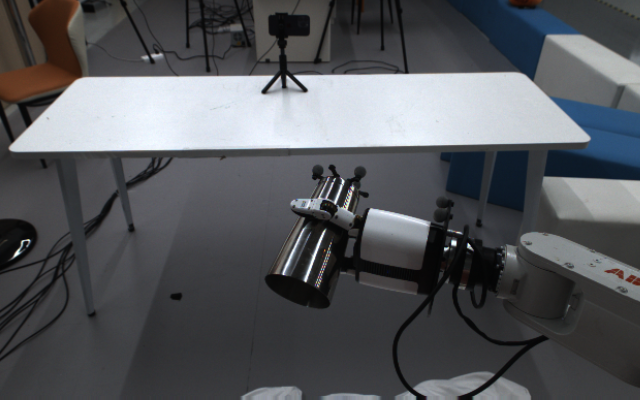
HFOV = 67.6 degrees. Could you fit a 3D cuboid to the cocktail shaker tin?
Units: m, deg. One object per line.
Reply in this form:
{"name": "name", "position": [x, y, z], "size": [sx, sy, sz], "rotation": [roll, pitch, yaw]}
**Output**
{"name": "cocktail shaker tin", "position": [-0.001, 0.052, 0.669], "size": [0.093, 0.093, 0.170], "rotation": [13, 58, 16]}
